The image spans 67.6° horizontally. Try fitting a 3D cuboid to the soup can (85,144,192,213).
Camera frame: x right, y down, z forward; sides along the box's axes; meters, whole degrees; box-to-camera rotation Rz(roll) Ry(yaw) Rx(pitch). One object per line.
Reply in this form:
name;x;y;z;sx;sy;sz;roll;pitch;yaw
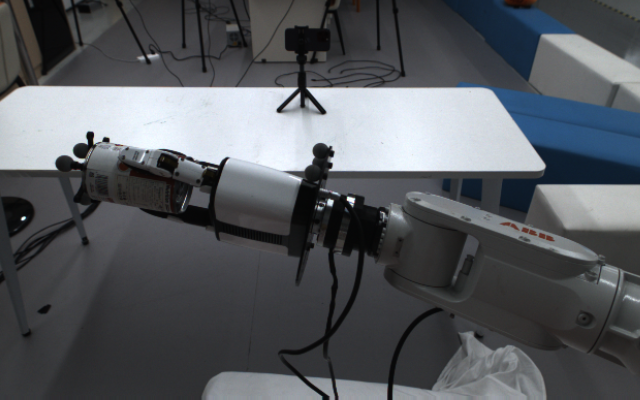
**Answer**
soup can;-0.198;-0.023;0.542;0.101;0.067;0.067;10;35;-1
